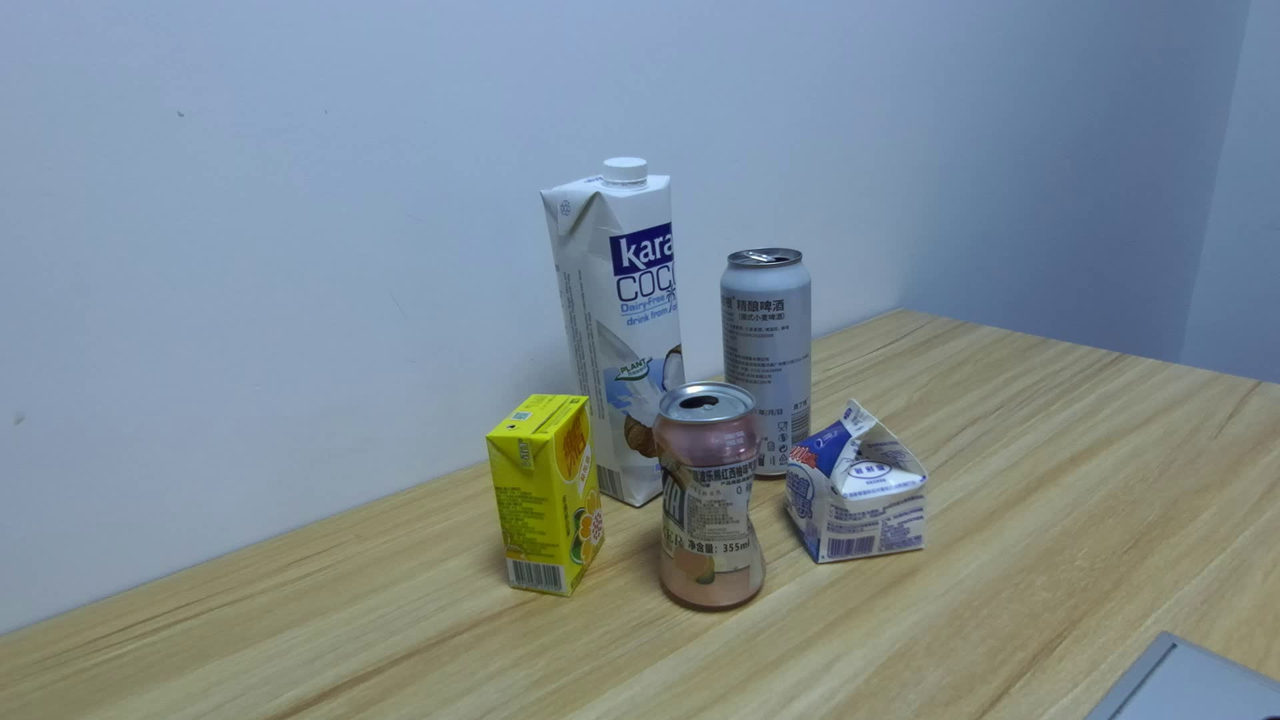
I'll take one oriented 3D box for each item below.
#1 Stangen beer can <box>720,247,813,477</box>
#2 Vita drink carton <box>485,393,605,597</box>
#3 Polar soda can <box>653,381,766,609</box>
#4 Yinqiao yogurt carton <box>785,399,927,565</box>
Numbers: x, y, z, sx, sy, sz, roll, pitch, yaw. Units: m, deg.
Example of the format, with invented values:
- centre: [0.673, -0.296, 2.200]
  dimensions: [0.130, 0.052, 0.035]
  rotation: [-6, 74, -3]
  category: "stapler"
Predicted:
- centre: [0.097, 0.003, 0.541]
  dimensions: [0.067, 0.171, 0.067]
  rotation: [-4, 19, 2]
  category: "Stangen beer can"
- centre: [-0.058, 0.084, 0.452]
  dimensions: [0.043, 0.109, 0.067]
  rotation: [2, 21, 18]
  category: "Vita drink carton"
- centre: [0.042, 0.080, 0.421]
  dimensions: [0.067, 0.122, 0.074]
  rotation: [8, 23, 29]
  category: "Polar soda can"
- centre: [0.139, 0.071, 0.459]
  dimensions: [0.077, 0.093, 0.083]
  rotation: [-6, 20, -5]
  category: "Yinqiao yogurt carton"
